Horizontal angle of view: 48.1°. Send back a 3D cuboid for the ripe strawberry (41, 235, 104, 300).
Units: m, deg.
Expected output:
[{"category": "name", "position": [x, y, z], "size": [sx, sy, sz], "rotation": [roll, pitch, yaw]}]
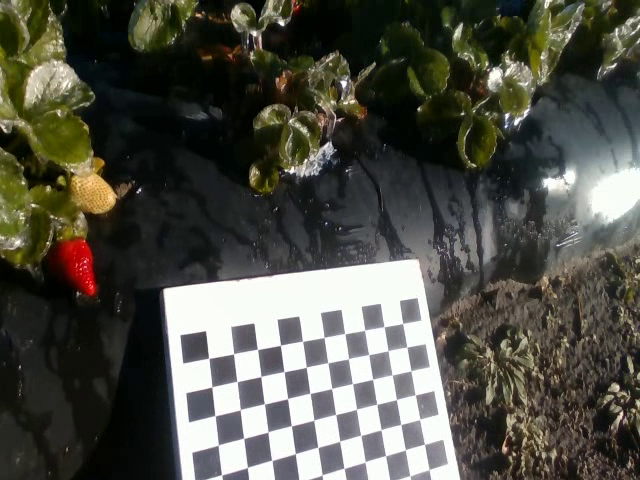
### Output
[{"category": "ripe strawberry", "position": [-0.191, 0.022, 0.568], "size": [0.041, 0.052, 0.040], "rotation": [-25, -4, -34]}]
